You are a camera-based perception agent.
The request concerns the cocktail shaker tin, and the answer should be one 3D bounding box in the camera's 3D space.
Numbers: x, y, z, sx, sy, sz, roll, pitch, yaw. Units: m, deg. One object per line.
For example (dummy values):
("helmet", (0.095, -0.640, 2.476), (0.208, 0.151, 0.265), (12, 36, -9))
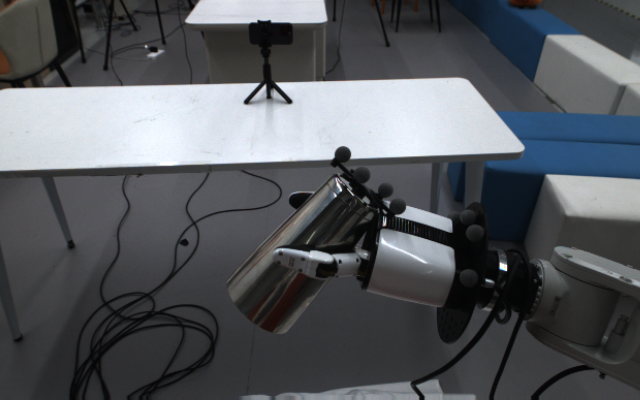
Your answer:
("cocktail shaker tin", (-0.013, 0.052, 0.537), (0.093, 0.170, 0.093), (41, 12, -11))
